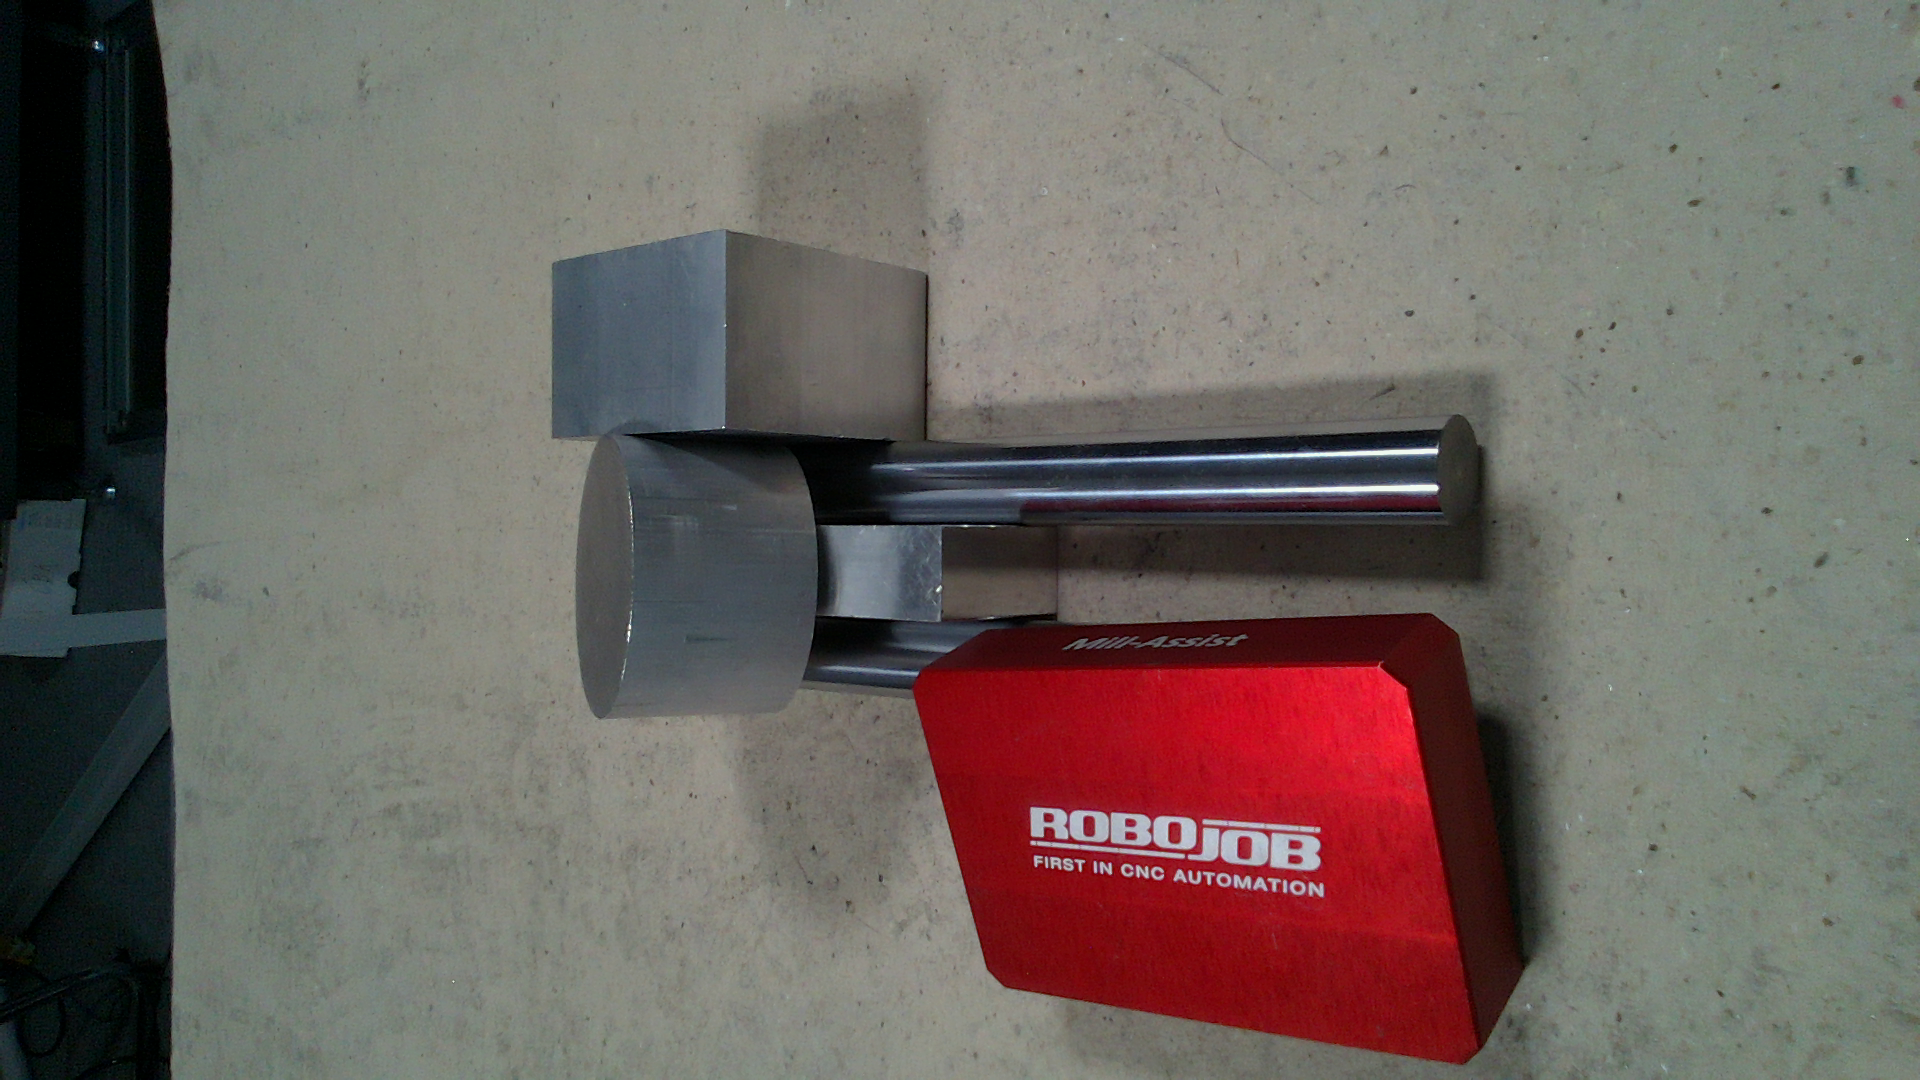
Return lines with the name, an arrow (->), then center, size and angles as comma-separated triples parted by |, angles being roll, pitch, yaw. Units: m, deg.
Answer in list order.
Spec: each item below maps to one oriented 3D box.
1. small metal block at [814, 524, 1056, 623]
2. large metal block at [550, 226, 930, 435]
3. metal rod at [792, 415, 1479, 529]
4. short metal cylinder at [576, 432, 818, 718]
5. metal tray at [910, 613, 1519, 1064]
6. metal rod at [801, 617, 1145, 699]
small metal block -> -0.008, 0.008, 0.385 | 0.050, 0.050, 0.025 | 1, 91, 40
large metal block -> -0.066, -0.057, 0.415 | 0.080, 0.080, 0.050 | 1, 91, 40
metal rod -> -0.004, -0.017, 0.399 | 0.299, 0.025, 0.025 | 1, 91, 40
short metal cylinder -> -0.078, 0.010, 0.398 | 0.080, 0.050, 0.080 | 172, 99, -64
metal tray -> 0.056, 0.066, 0.327 | 0.129, 0.030, 0.090 | -5, 104, 39
metal rod -> -0.008, 0.034, 0.402 | 0.299, 0.025, 0.025 | 0, 90, 40
